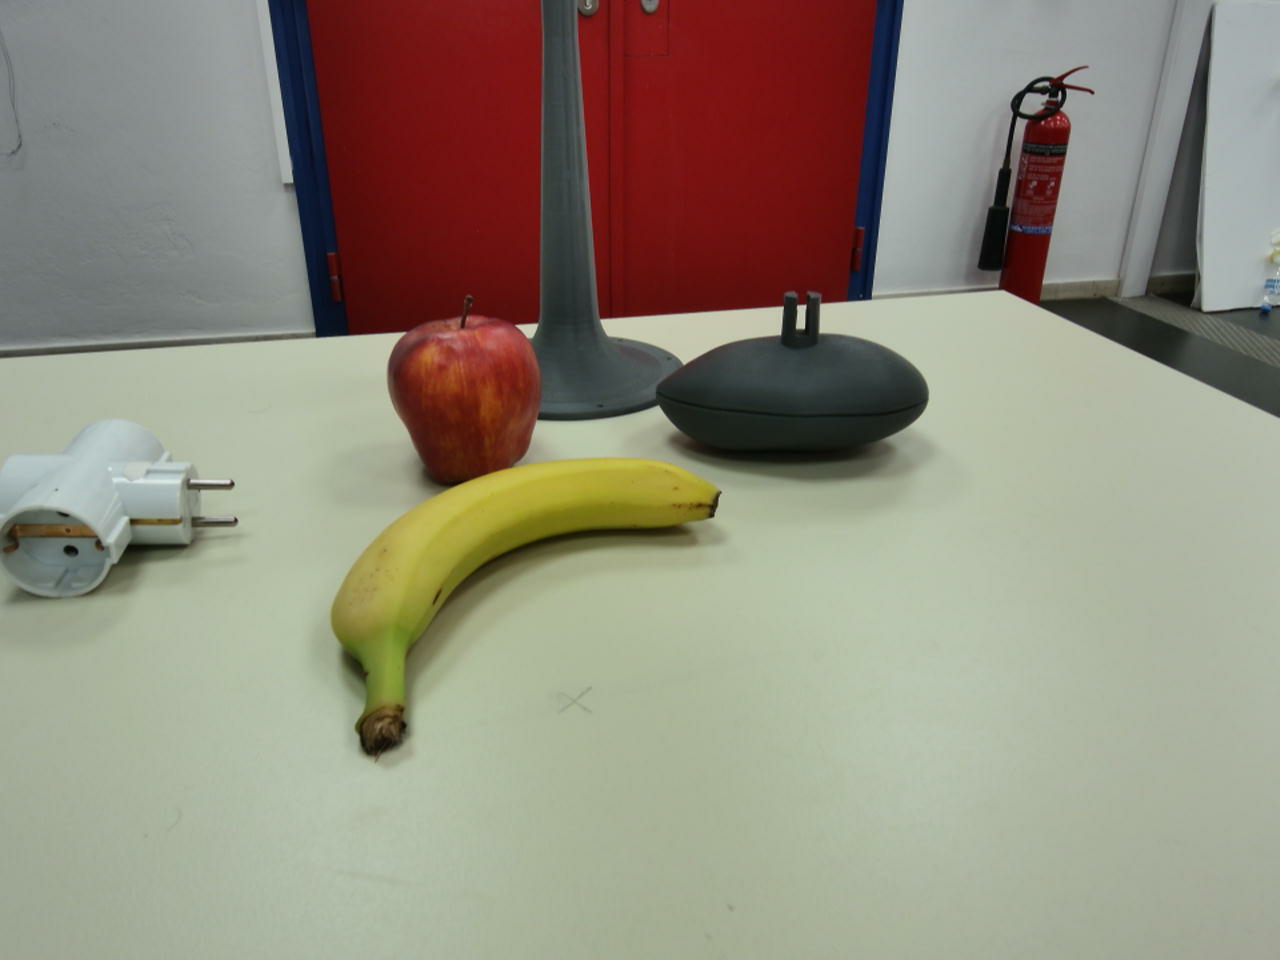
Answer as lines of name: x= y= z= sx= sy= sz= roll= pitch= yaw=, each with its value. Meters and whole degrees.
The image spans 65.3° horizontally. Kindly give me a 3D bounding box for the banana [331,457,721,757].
banana: x=-0.057 y=0.030 z=0.412 sx=0.094 sy=0.041 sz=0.196 roll=19 pitch=31 yaw=36
